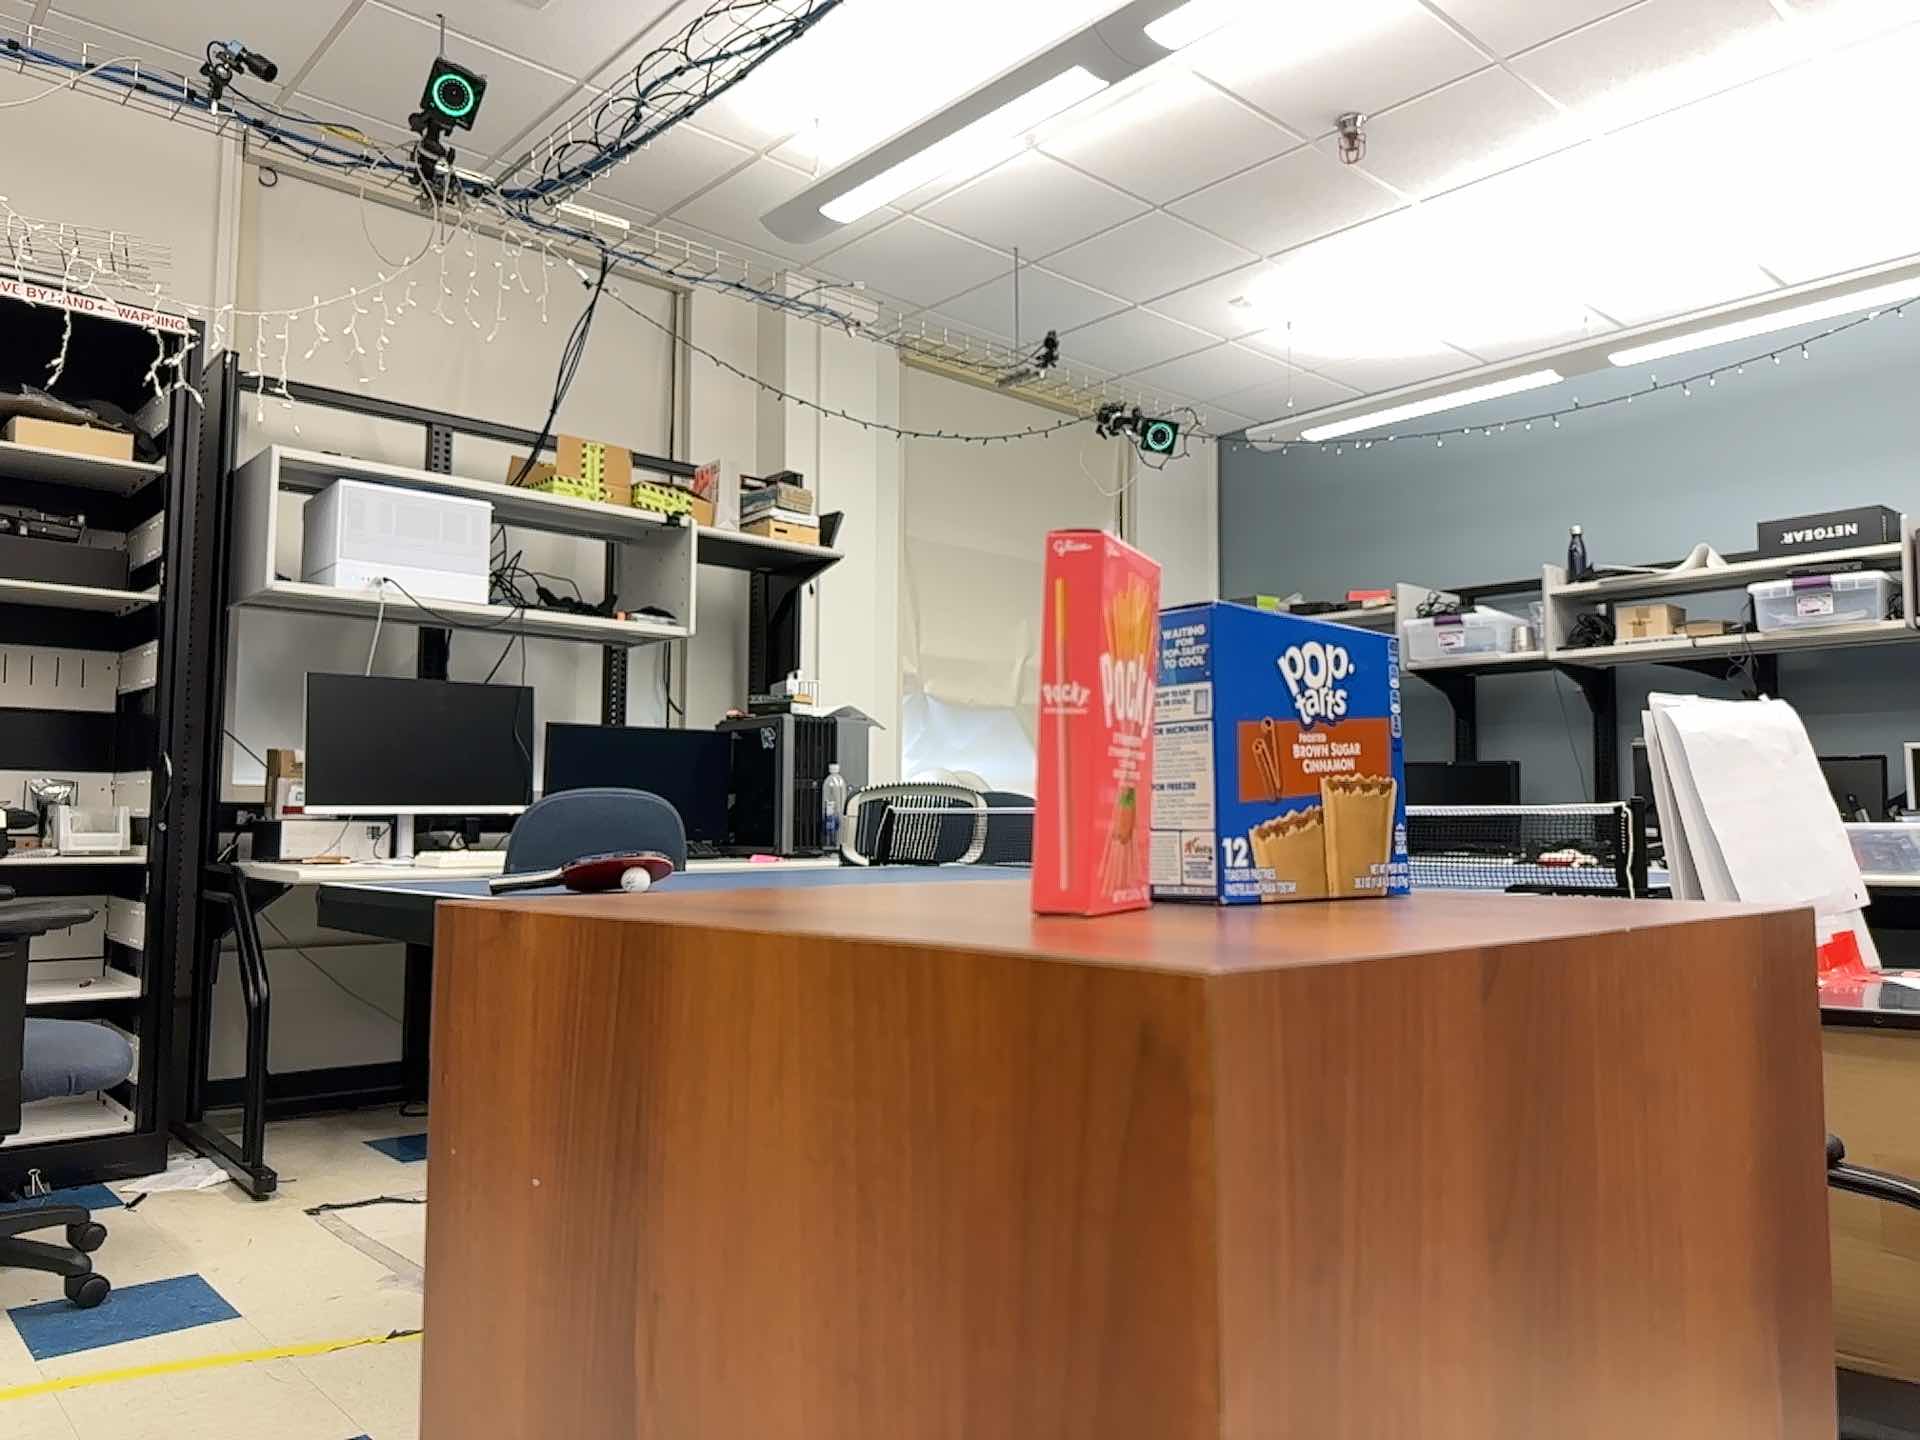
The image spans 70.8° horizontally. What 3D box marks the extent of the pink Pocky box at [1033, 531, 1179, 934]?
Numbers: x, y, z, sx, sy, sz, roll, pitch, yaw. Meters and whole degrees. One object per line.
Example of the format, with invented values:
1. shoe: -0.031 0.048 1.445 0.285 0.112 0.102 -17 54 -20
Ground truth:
1. pink Pocky box: 0.061 0.007 0.551 0.029 0.155 0.084 1 -5 27

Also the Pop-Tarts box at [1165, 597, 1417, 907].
1. Pop-Tarts box: 0.154 0.023 0.687 0.161 0.135 0.075 8 -9 -42
